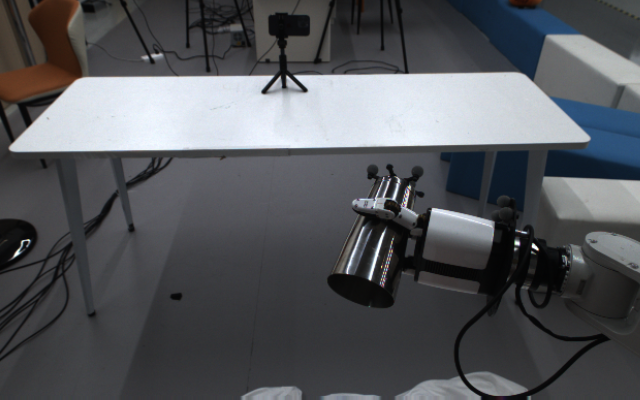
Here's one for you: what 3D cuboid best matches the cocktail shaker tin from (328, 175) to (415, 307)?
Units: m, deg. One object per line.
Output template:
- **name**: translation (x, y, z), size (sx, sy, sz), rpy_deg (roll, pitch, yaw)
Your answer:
- **cocktail shaker tin**: translation (0.080, 0.049, 0.666), size (0.093, 0.093, 0.170), rpy_deg (14, 57, 16)
